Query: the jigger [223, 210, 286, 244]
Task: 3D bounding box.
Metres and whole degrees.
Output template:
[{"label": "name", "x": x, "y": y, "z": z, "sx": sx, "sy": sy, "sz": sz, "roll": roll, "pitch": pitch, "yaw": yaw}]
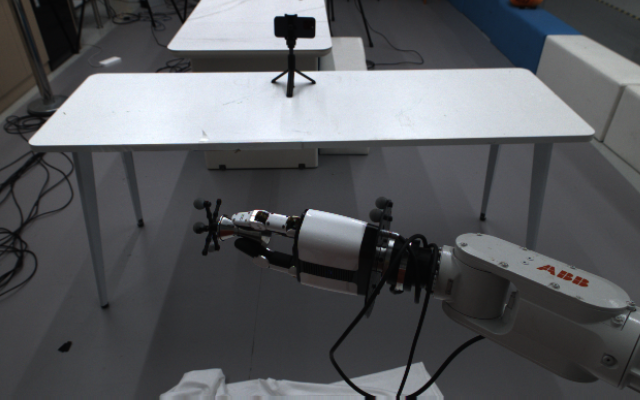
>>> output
[{"label": "jigger", "x": -0.101, "y": 0.040, "z": 0.699, "sx": 0.071, "sy": 0.043, "sz": 0.043, "roll": 4, "pitch": 34, "yaw": 13}]
